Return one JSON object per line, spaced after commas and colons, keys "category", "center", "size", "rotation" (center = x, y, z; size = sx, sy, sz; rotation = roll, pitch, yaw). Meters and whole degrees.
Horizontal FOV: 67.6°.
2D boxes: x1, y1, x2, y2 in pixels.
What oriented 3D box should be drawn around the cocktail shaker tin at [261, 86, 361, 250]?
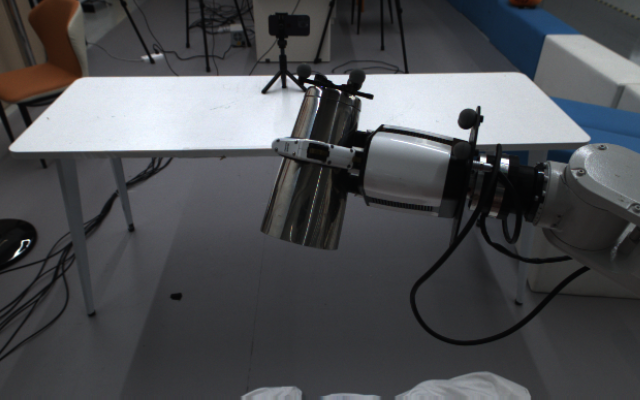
{"category": "cocktail shaker tin", "center": [-0.004, -0.037, 0.555], "size": [0.093, 0.170, 0.093], "rotation": [14, 2, 0]}
